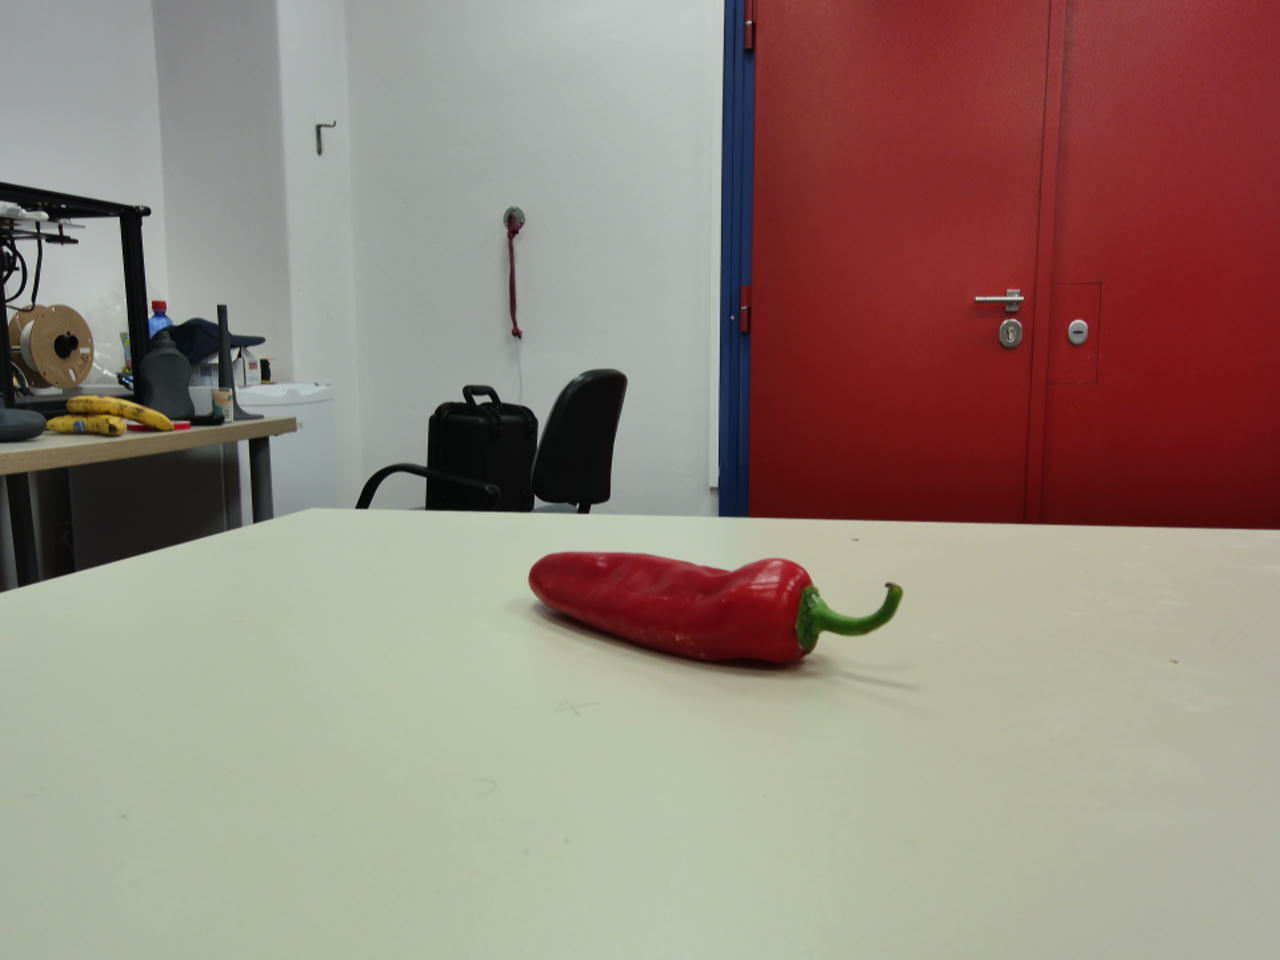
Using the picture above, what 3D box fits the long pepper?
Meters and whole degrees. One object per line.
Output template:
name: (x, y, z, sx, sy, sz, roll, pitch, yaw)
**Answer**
long pepper: (0.015, 0.052, 0.443, 0.211, 0.043, 0.050, 4, 5, 44)
